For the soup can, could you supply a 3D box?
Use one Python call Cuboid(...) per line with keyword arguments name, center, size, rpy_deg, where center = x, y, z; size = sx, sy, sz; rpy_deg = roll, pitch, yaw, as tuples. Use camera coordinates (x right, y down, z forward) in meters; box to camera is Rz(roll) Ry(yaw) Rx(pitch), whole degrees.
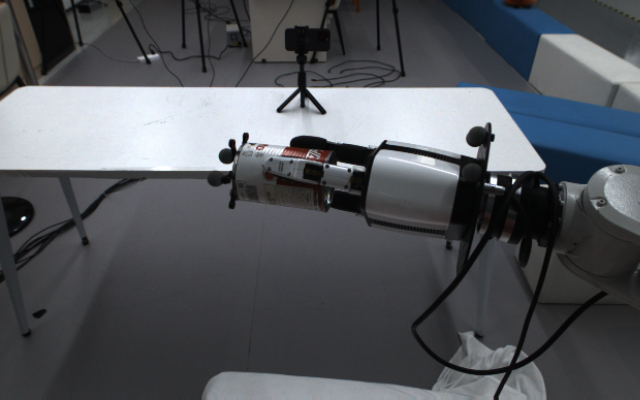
Cuboid(name="soup can", center=(-0.035, -0.026, 0.536), size=(0.101, 0.067, 0.067), rpy_deg=(7, 35, 11))
